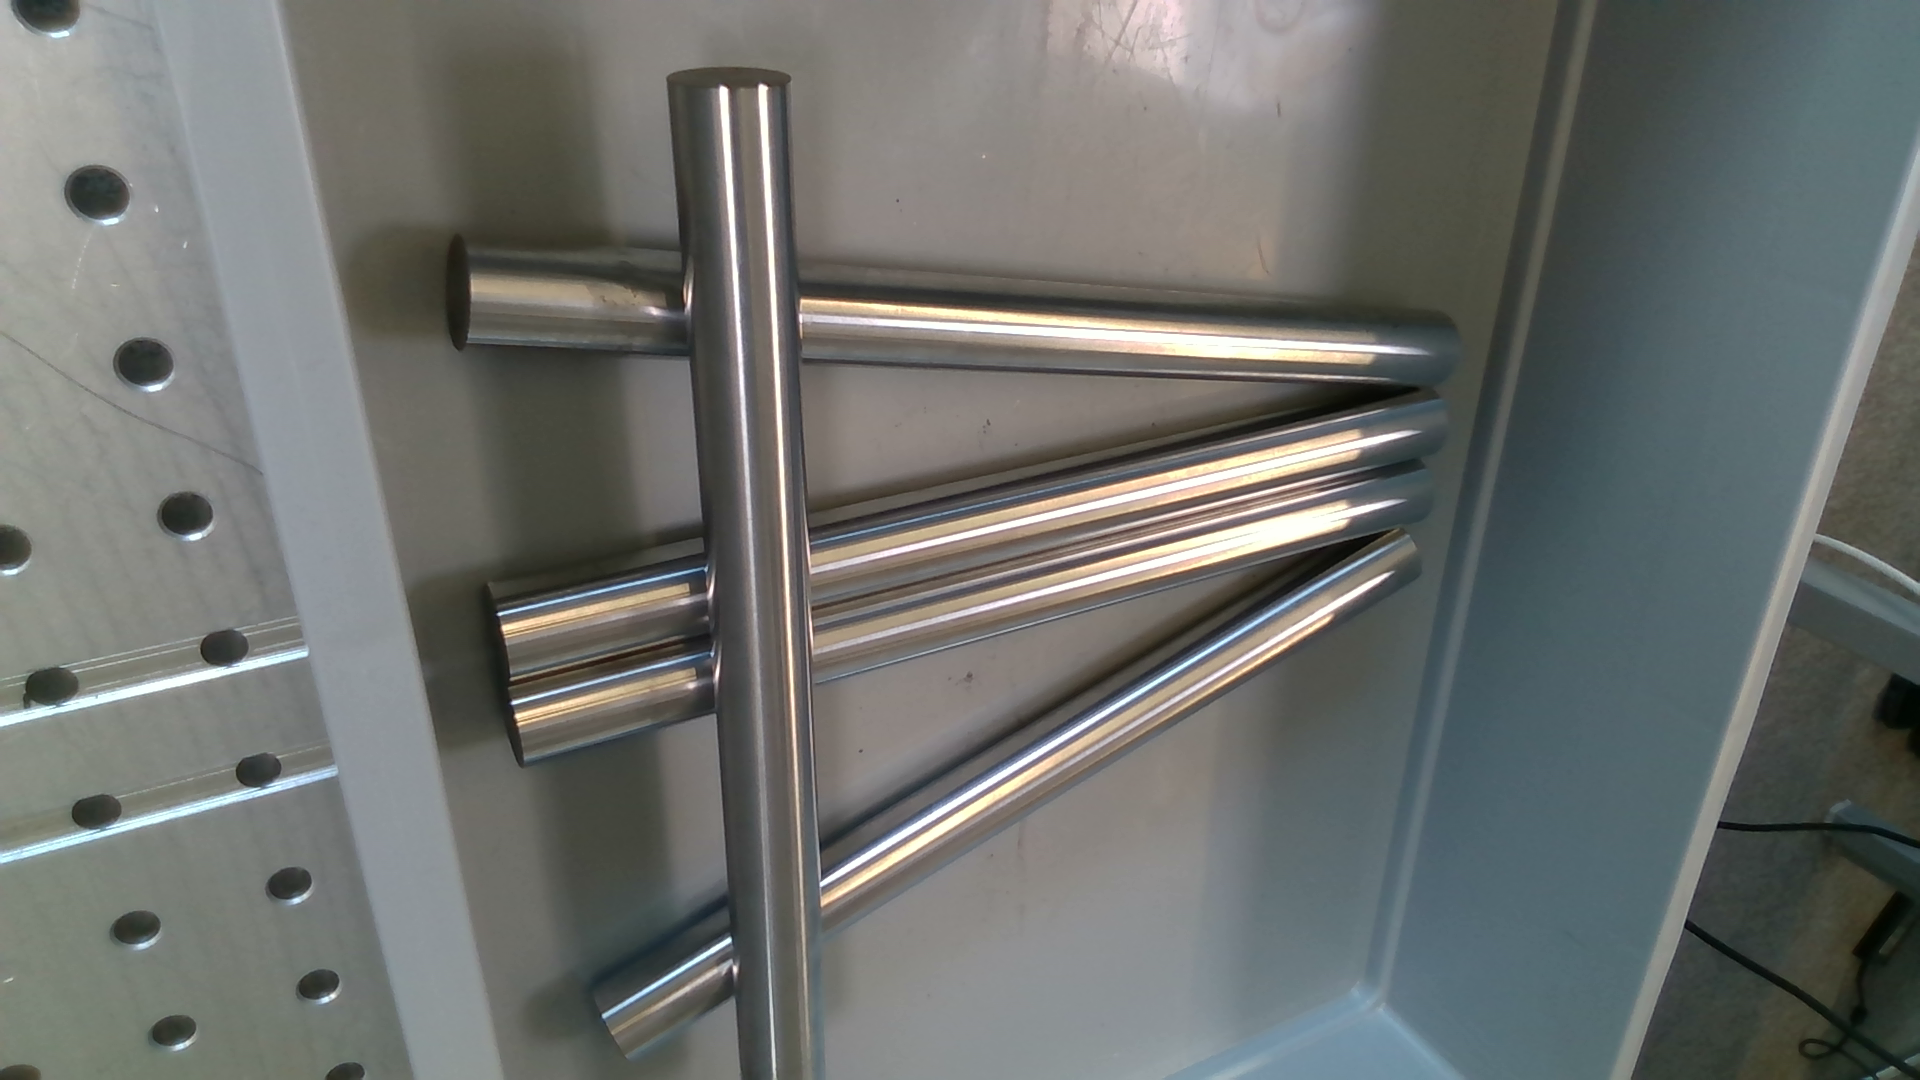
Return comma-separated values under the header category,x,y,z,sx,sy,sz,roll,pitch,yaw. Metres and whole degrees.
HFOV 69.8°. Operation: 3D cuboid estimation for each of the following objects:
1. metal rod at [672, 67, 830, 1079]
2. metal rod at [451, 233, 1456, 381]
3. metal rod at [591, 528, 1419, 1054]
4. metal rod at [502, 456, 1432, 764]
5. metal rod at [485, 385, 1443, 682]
category,x,y,z,sx,sy,sz,roll,pitch,yaw
metal rod,-0.048,0.040,0.347,0.025,0.025,0.301,-13,121,-25
metal rod,0.022,-0.058,0.371,0.300,0.025,0.025,-2,116,-31
metal rod,0.025,0.070,0.443,0.300,0.025,0.025,-28,126,-16
metal rod,0.020,0.012,0.408,0.300,0.025,0.025,-14,121,-25
metal rod,0.020,-0.009,0.396,0.300,0.025,0.025,-13,121,-25
